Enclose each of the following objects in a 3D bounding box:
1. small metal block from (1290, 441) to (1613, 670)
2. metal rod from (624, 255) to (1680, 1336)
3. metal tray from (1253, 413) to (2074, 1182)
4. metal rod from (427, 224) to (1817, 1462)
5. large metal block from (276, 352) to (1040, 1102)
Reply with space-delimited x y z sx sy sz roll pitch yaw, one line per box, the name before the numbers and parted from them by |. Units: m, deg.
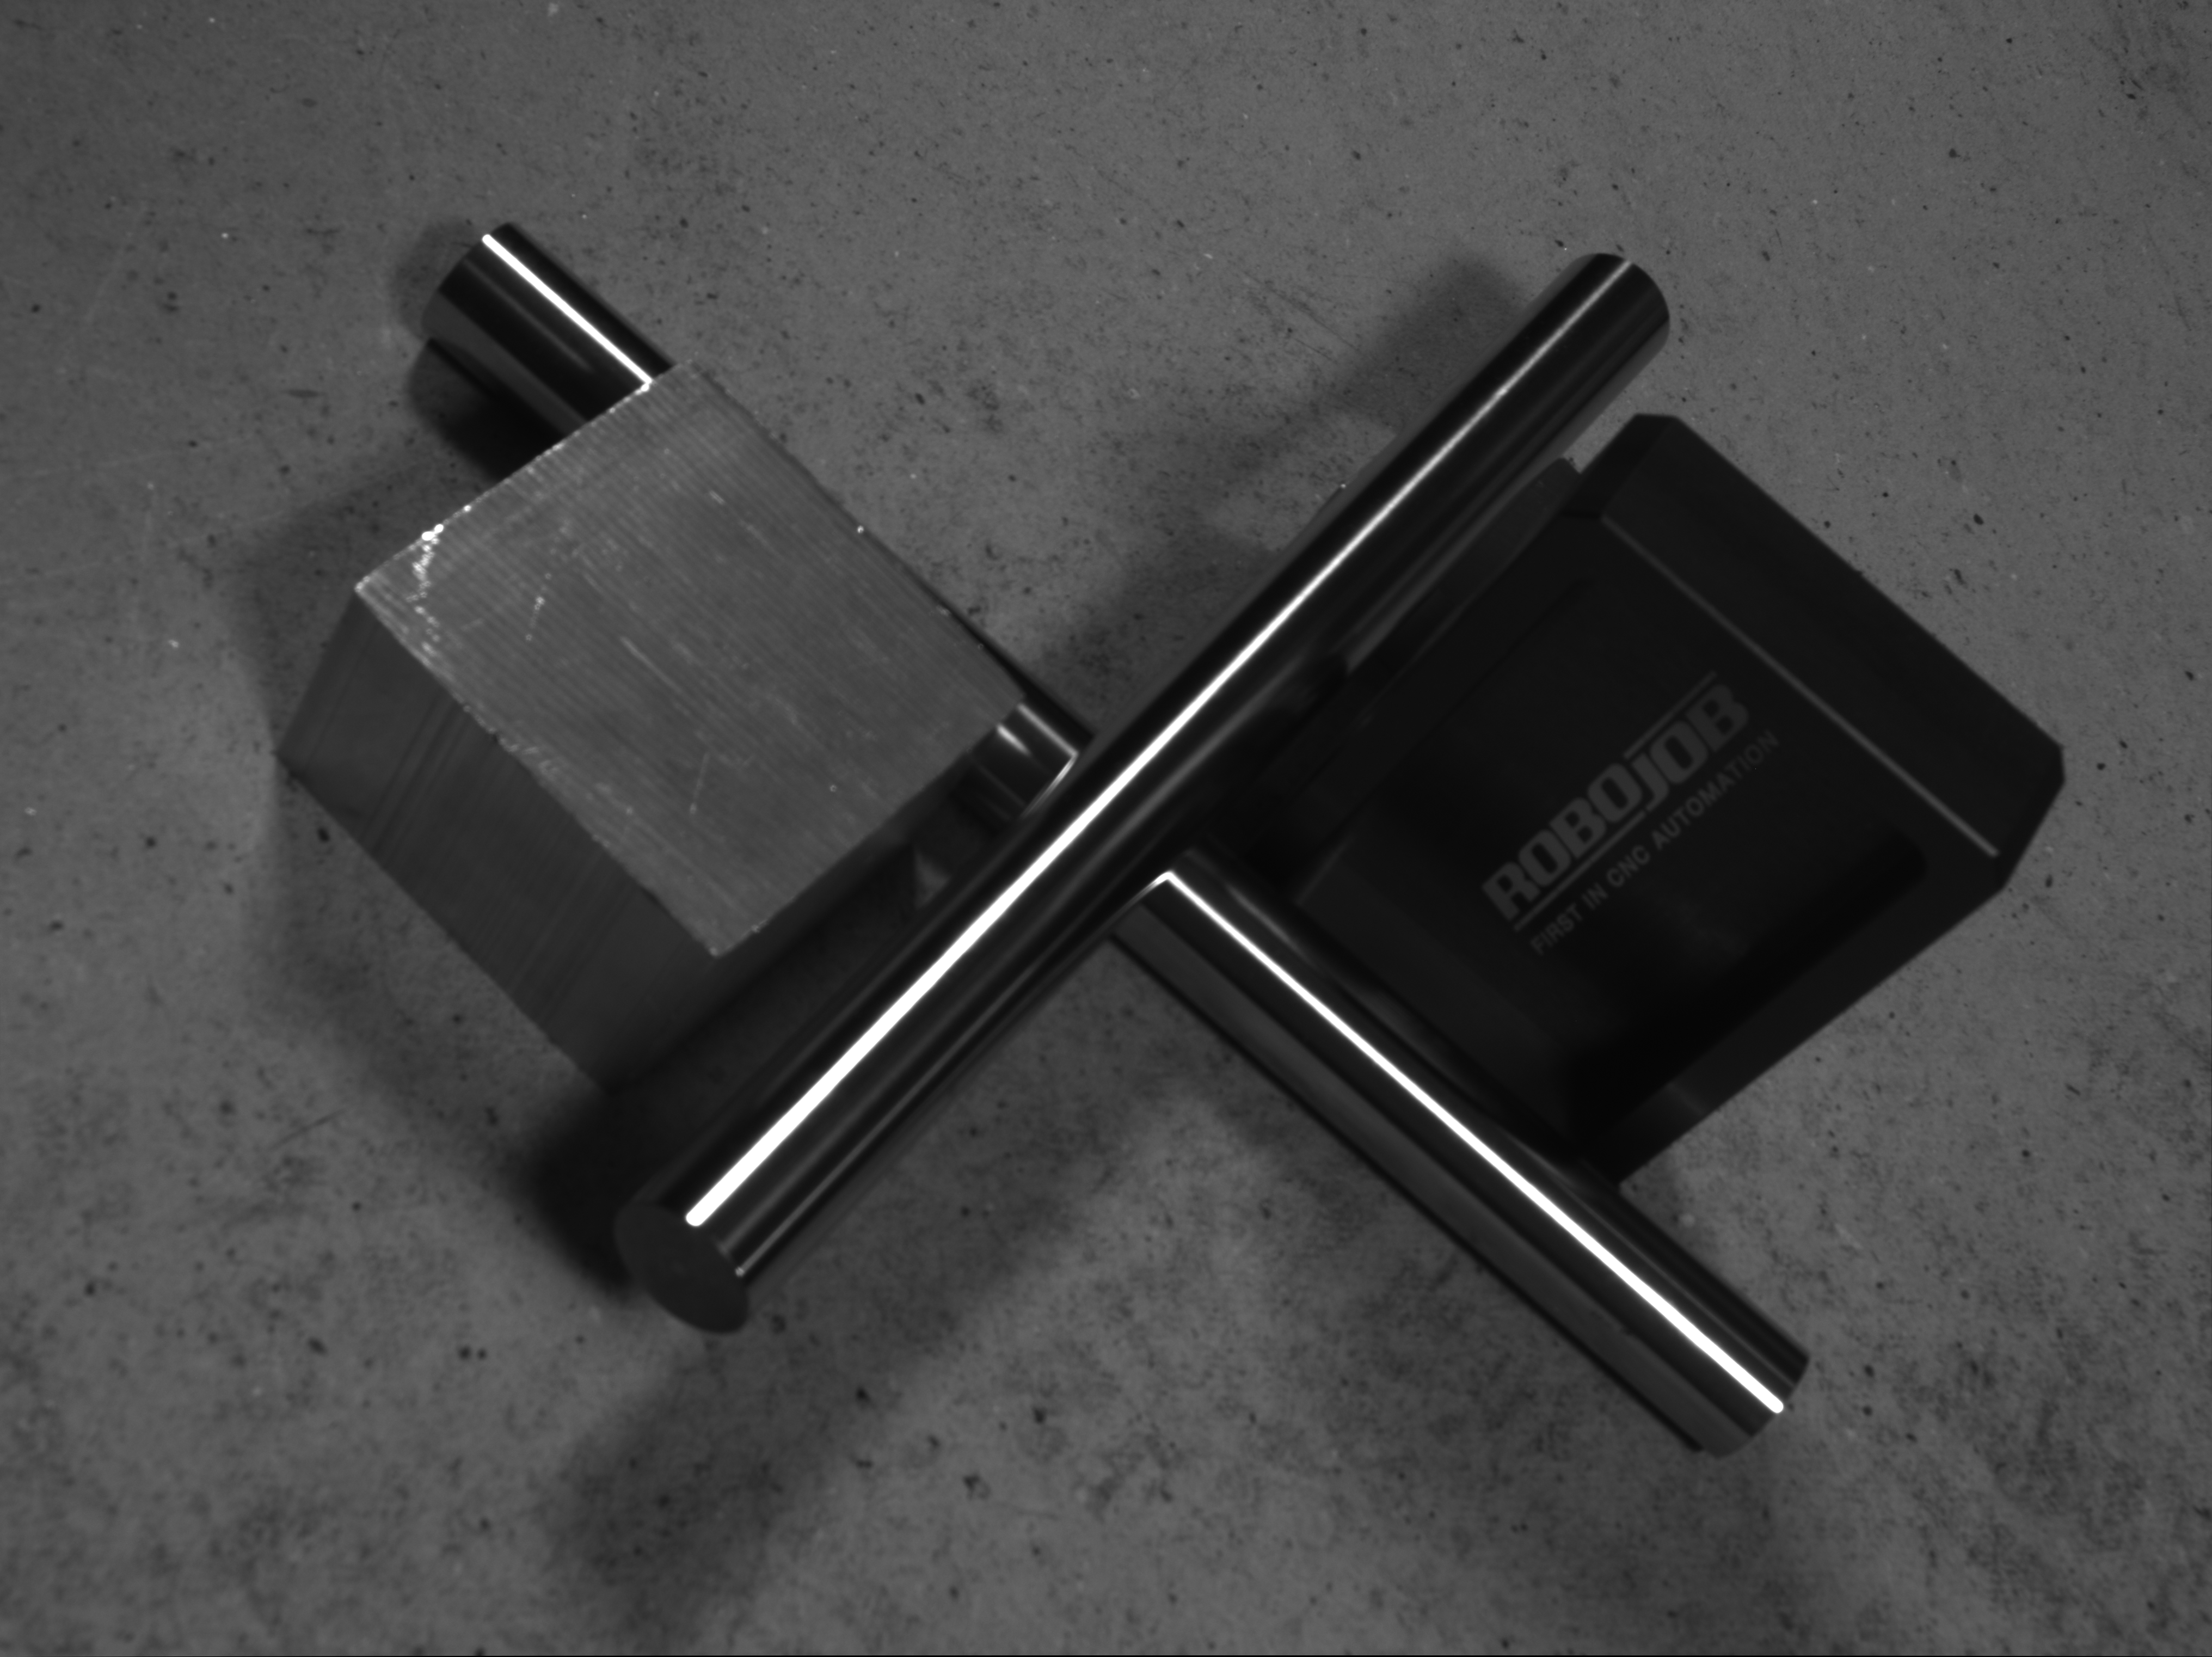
small metal block | 0.072 -0.053 0.711 0.050 0.025 0.050 46 51 4
metal rod | 0.021 -0.019 0.630 0.025 0.025 0.300 43 51 2
metal tray | 0.088 0.000 0.619 0.090 0.130 0.030 40 52 0
metal rod | 0.003 0.003 0.640 0.300 0.025 0.025 41 51 0
large metal block | -0.072 -0.017 0.594 0.080 0.050 0.080 45 51 3
